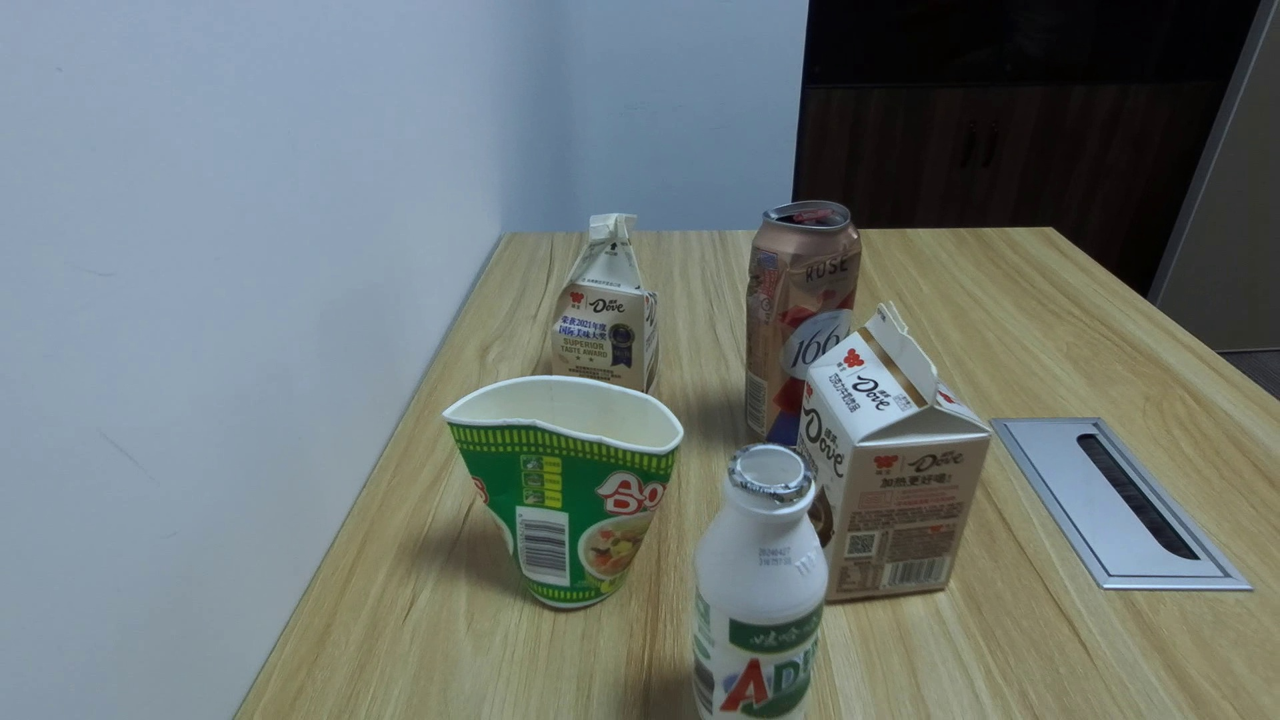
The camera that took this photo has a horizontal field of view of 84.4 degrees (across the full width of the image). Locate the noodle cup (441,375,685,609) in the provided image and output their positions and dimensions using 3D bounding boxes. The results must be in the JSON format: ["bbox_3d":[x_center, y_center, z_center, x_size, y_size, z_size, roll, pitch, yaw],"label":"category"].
[{"bbox_3d":[-0.036,0.072,0.381,0.114,0.111,0.070,20,40,32],"label":"noodle cup"}]

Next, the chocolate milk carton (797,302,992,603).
[{"bbox_3d":[0.132,0.048,0.377,0.074,0.148,0.075,-4,30,-3],"label":"chocolate milk carton"}]

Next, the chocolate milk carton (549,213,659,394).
[{"bbox_3d":[-0.024,-0.041,0.530,0.073,0.155,0.076,6,29,9],"label":"chocolate milk carton"}]

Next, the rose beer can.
[{"bbox_3d":[0.107,-0.021,0.480,0.076,0.167,0.065,-15,32,-16],"label":"rose beer can"}]
